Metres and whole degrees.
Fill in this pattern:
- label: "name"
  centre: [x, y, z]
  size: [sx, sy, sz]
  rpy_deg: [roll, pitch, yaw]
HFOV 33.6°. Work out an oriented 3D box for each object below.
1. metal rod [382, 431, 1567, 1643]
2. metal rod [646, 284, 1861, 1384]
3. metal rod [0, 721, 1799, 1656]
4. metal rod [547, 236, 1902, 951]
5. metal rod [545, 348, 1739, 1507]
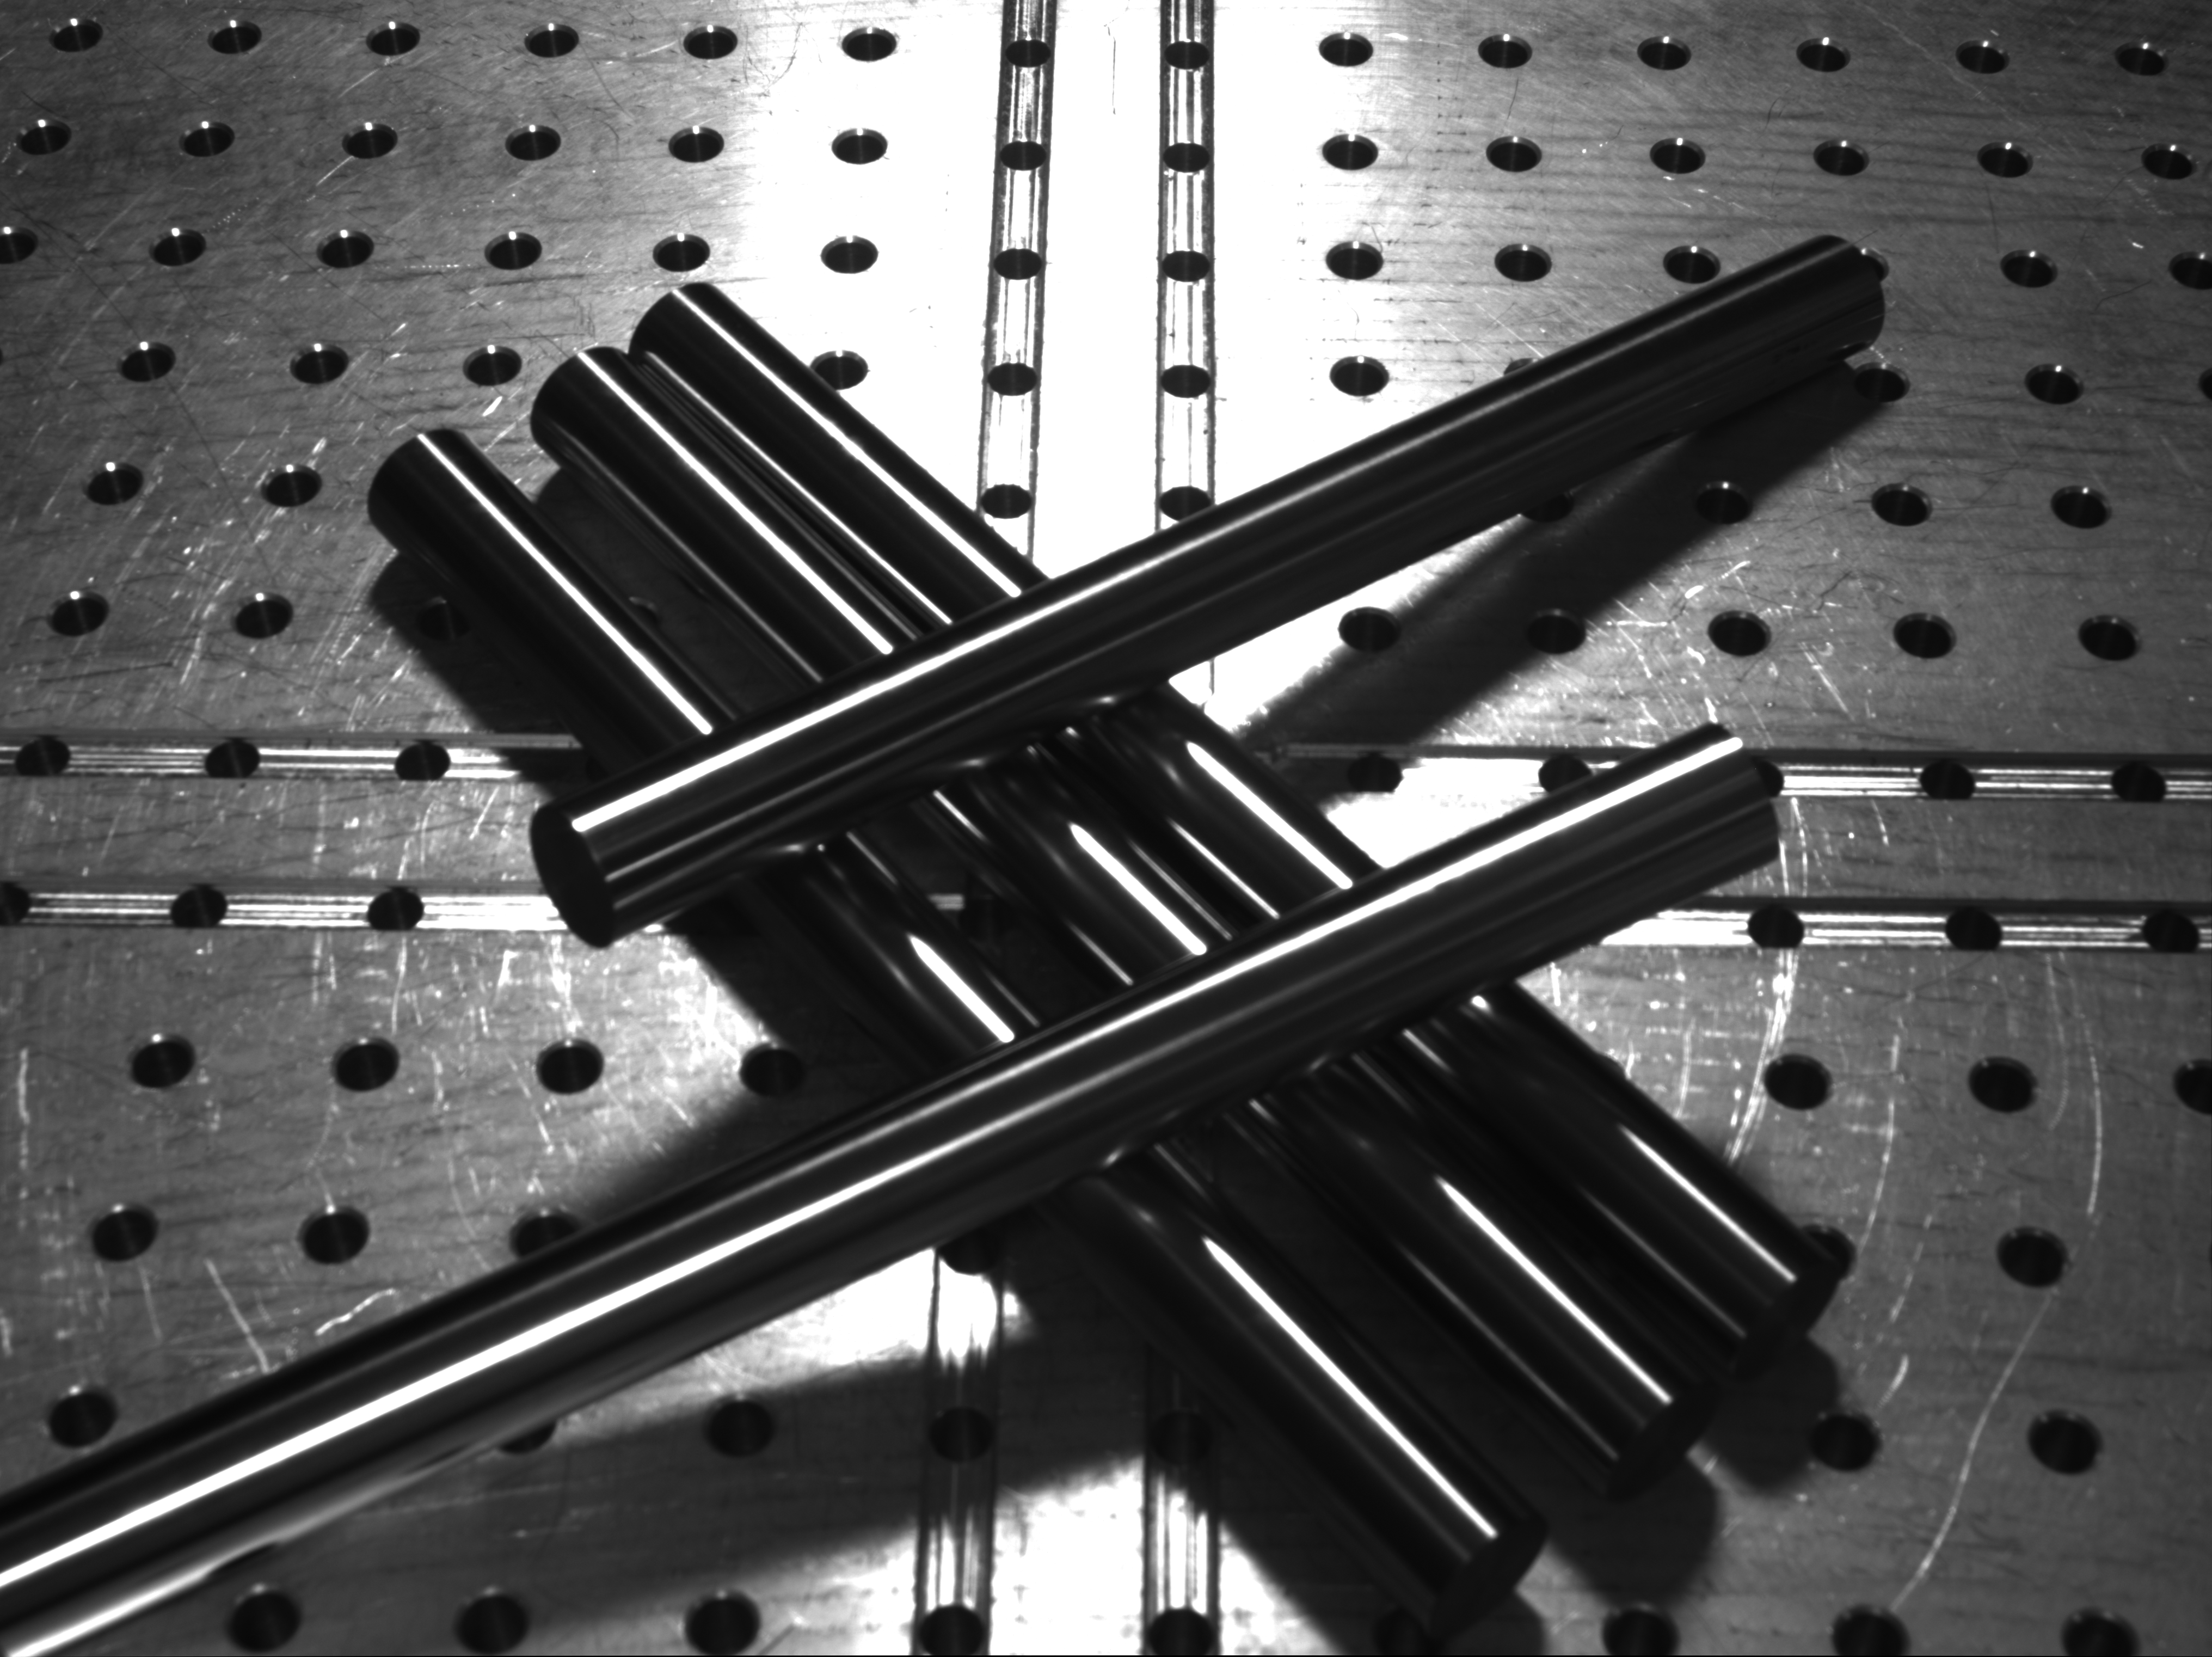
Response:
- label: "metal rod"
  centre: [-0.034, 0.024, 0.625]
  size: [0.025, 0.025, 0.299]
  rpy_deg: [-32, 57, -24]
- label: "metal rod"
  centre: [0.015, -0.009, 0.653]
  size: [0.025, 0.025, 0.299]
  rpy_deg: [-33, 57, -24]
- label: "metal rod"
  centre: [-0.029, 0.054, 0.572]
  size: [0.300, 0.025, 0.025]
  rpy_deg: [-24, 53, -9]
- label: "metal rod"
  centre: [0.034, -0.049, 0.660]
  size: [0.301, 0.025, 0.025]
  rpy_deg: [-26, 54, -30]
- label: "metal rod"
  centre: [-0.005, 0.006, 0.640]
  size: [0.025, 0.025, 0.299]
  rpy_deg: [-32, 57, -24]
